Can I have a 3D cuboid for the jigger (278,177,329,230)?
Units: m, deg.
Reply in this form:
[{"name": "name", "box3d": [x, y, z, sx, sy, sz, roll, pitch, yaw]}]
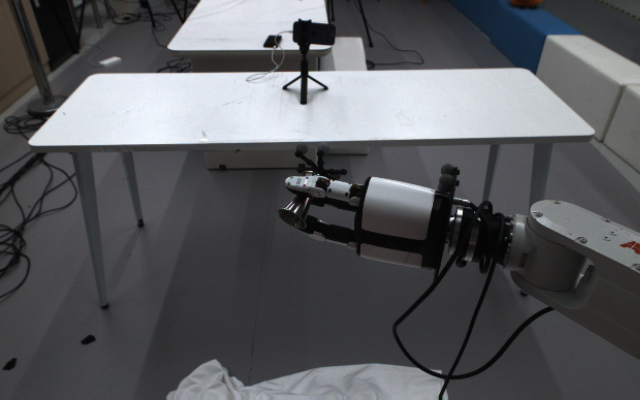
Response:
[{"name": "jigger", "box3d": [-0.023, -0.005, 0.648, 0.043, 0.043, 0.071, 19, 61, 23]}]
